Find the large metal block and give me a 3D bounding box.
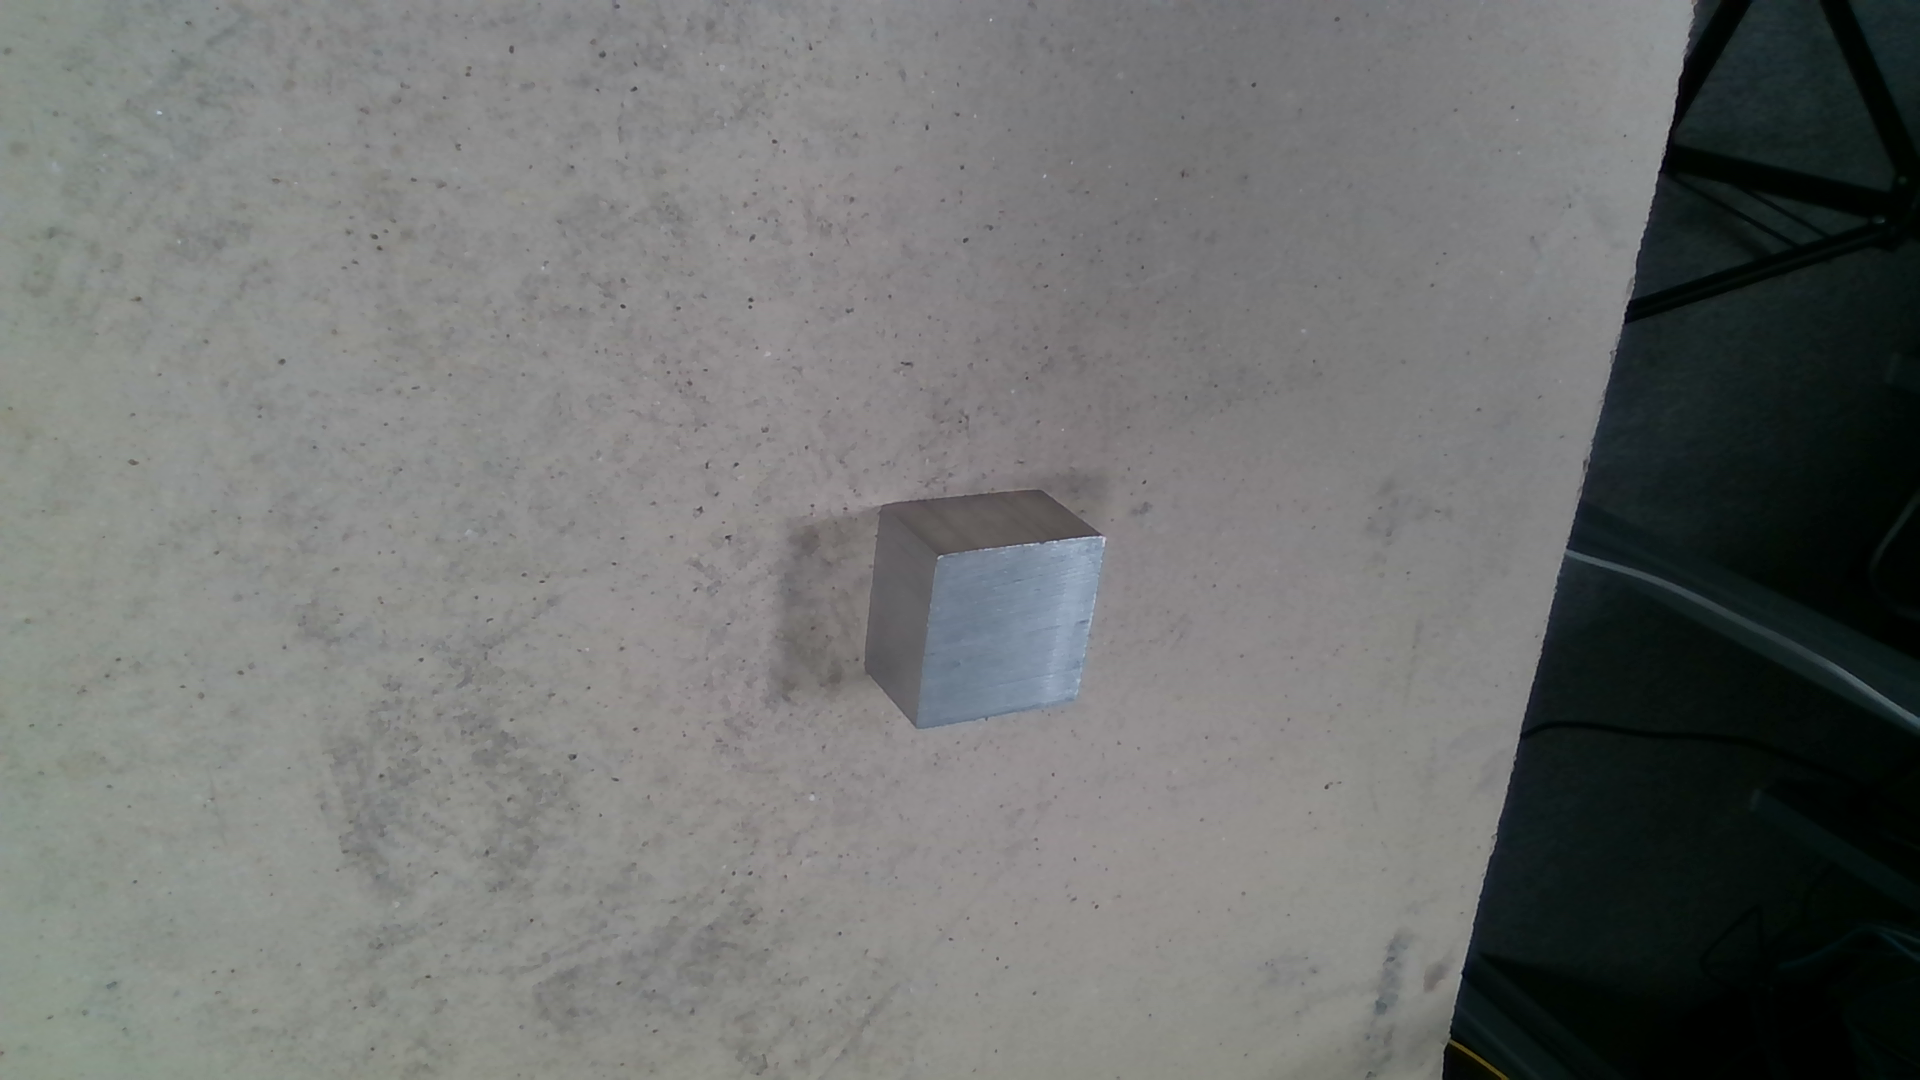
[{"bbox_3d":[0.009,0.027,0.585,0.080,0.050,0.080,-7,118,-29],"label":"large metal block"}]
